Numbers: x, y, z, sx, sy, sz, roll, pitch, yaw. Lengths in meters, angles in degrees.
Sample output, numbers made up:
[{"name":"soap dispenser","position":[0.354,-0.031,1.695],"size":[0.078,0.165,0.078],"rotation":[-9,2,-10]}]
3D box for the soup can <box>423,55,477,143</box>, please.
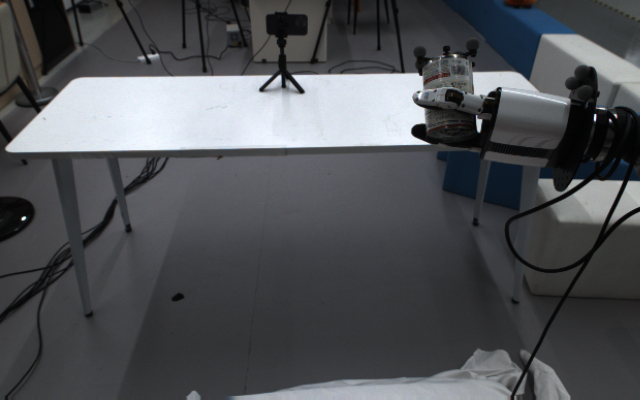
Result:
[{"name":"soup can","position":[0.176,-0.136,0.655],"size":[0.067,0.101,0.067],"rotation":[-1,-9,0]}]
